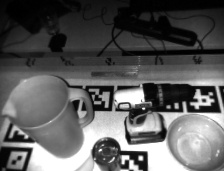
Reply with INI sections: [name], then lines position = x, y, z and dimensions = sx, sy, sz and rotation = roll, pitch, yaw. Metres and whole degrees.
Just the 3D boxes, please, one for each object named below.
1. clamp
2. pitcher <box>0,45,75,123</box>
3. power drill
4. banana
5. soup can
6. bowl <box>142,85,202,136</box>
[clamp]
position = 0.093, 0.211, 0.547
dimensions = 0.202, 0.037, 0.165
rotation = 0, 60, 7
[pitcher]
position = -0.182, 0.000, 0.607
dimensions = 0.189, 0.244, 0.132
rotation = -19, 52, -5
[power drill]
position = 0.058, -0.018, 0.601
dimensions = 0.184, 0.188, 0.057
rotation = -3, 55, 5
[banana]
position = -0.185, 0.152, 0.631
dimensions = 0.198, 0.039, 0.073
rotation = -19, 47, -8
[soup can]
position = -0.062, 0.095, 0.615
dimensions = 0.068, 0.103, 0.067
rotation = -4, 47, 5
[bowl]
position = 0.169, 0.080, 0.624
dimensions = 0.161, 0.055, 0.161
rotation = -3, 57, 6
